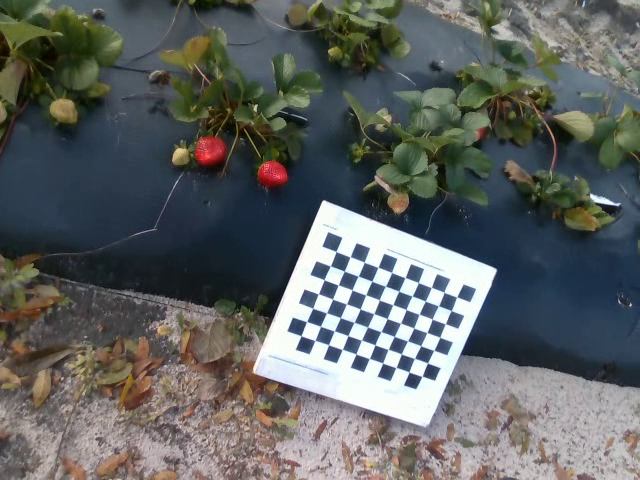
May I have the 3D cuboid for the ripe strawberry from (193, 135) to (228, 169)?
[{"bbox_3d":[-0.110,-0.091,0.632,0.035,0.041,0.036,6,32,-6],"label":"ripe strawberry"}]

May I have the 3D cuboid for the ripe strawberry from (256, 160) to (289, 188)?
[{"bbox_3d":[-0.045,-0.070,0.649,0.033,0.038,0.039,29,14,-32],"label":"ripe strawberry"}]
